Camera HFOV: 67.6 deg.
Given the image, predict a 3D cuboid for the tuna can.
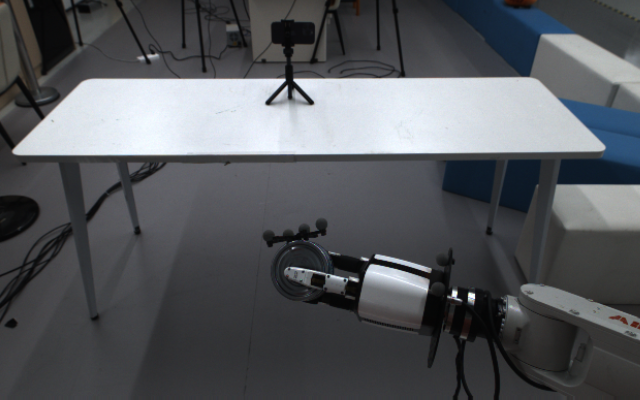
[{"bbox_3d":[-0.021,0.104,0.676,0.085,0.085,0.034,12,-6,14],"label":"tuna can"}]
